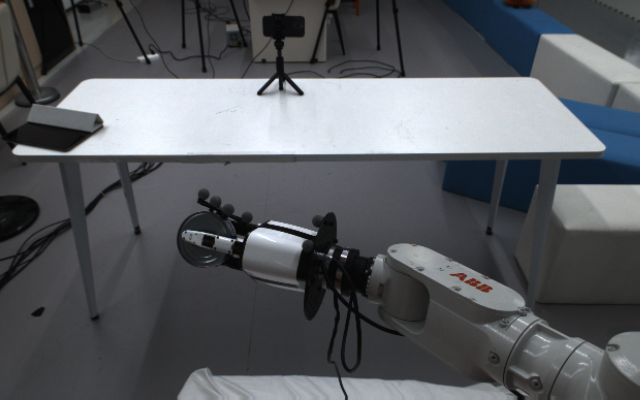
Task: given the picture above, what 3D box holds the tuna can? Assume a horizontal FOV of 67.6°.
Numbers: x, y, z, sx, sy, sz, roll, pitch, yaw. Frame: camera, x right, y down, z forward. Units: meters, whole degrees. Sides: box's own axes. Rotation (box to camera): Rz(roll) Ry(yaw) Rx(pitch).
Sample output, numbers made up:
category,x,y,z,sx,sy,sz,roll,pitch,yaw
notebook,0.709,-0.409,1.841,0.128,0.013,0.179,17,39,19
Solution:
category,x,y,z,sx,sy,sz,roll,pitch,yaw
tuna can,-0.172,0.062,0.743,0.085,0.085,0.034,9,-5,10
